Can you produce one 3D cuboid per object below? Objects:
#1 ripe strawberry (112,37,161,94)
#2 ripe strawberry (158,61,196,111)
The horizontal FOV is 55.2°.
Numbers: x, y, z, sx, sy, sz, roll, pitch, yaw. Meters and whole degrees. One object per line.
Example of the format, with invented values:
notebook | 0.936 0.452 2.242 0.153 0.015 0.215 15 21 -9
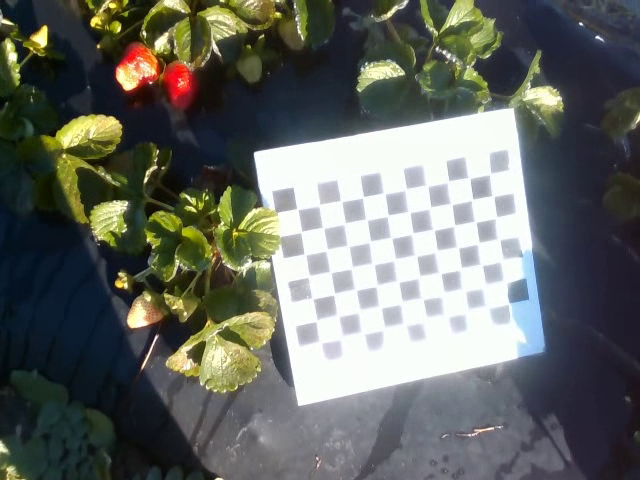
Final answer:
ripe strawberry | -0.225 -0.206 0.747 0.052 0.070 0.040 37 -7 -15
ripe strawberry | -0.173 -0.191 0.744 0.043 0.059 0.040 -10 1 -6
